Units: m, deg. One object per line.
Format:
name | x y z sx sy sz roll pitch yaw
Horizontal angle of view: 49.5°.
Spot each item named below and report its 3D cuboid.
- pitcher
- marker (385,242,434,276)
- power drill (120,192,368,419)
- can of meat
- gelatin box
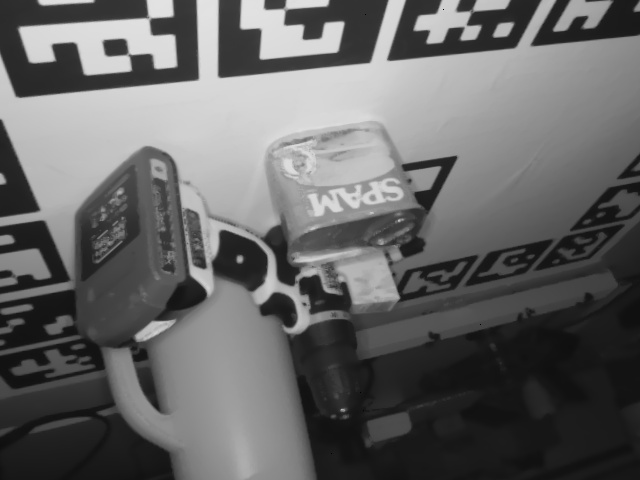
pitcher | -0.098 0.129 0.596 0.192 0.242 0.131 3 140 -42
marker | 0.065 0.034 0.733 0.120 0.020 0.020 -27 147 10
power drill | -0.053 0.045 0.533 0.189 0.185 0.056 16 132 -35
can of meat | 0.003 -0.042 0.519 0.102 0.084 0.057 -12 150 -10
gelatin box | 0.021 0.035 0.664 0.090 0.073 0.030 -4 142 -20
